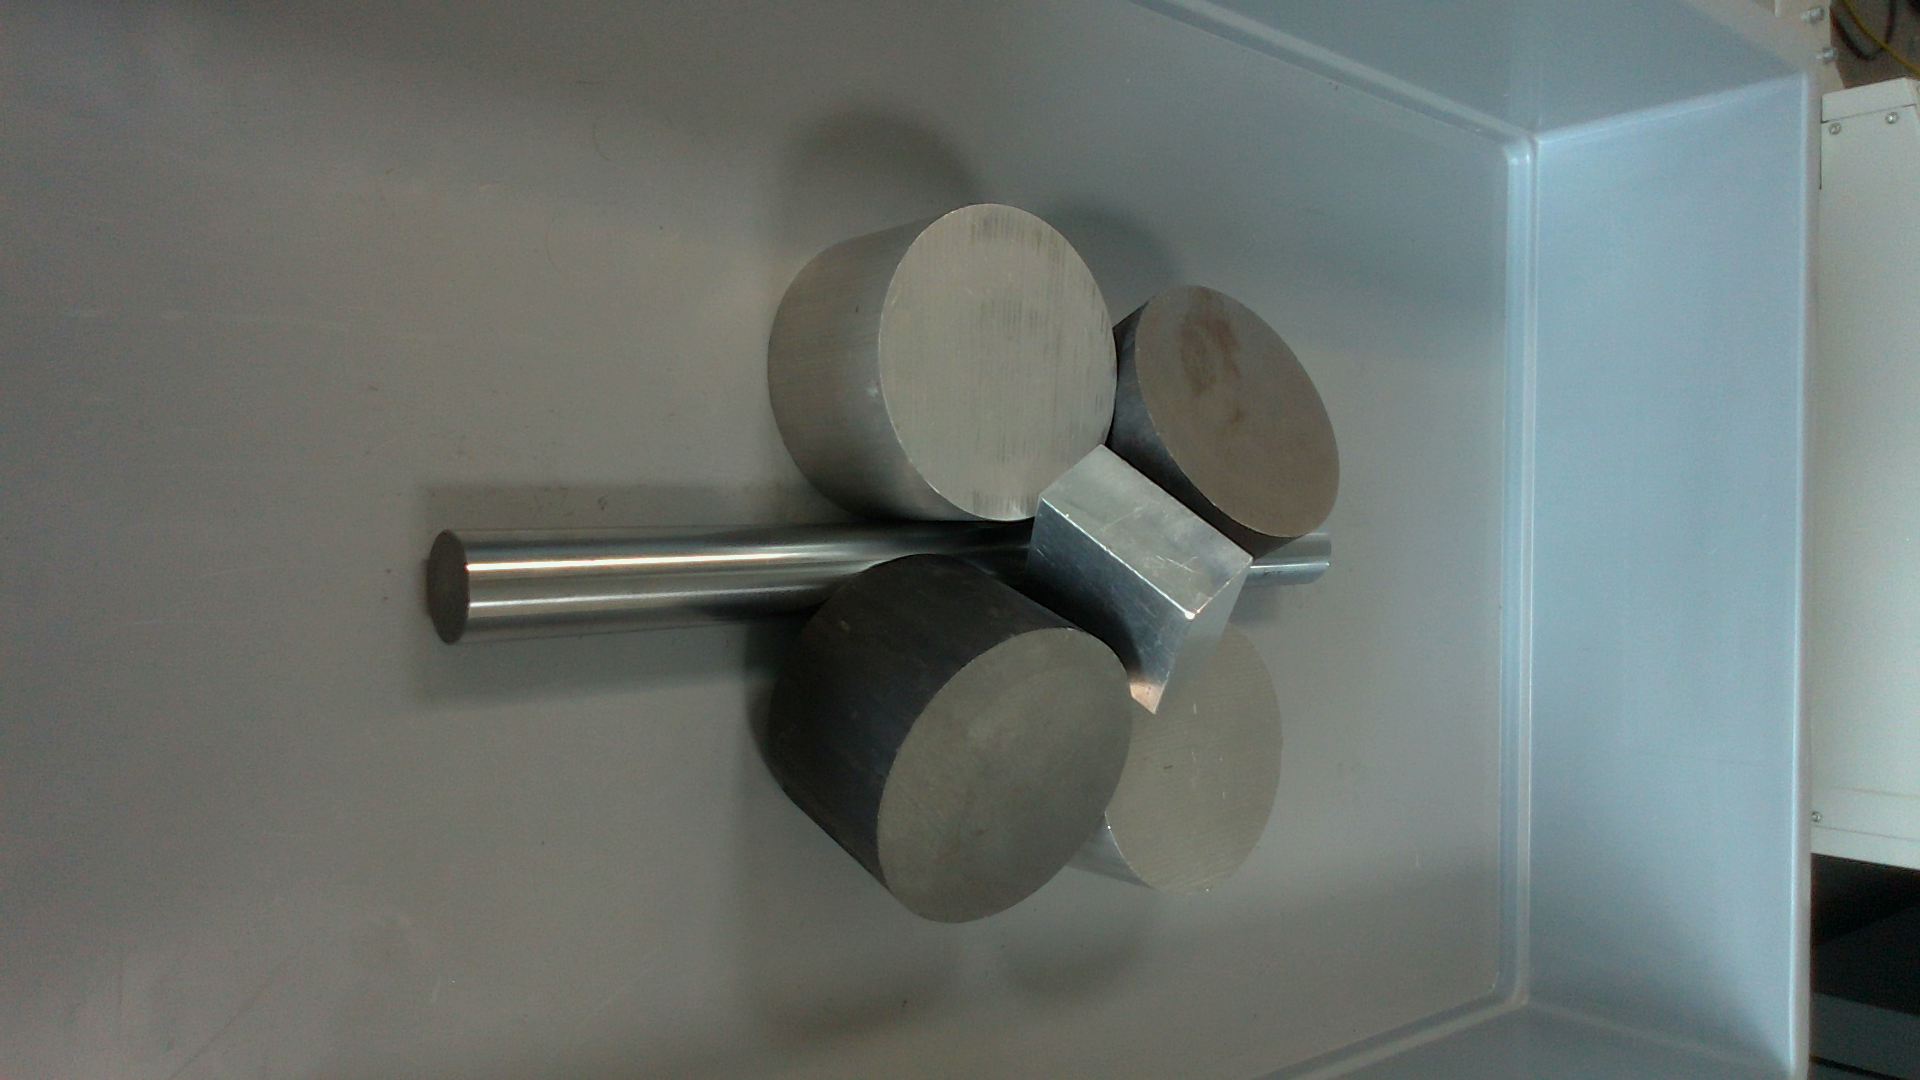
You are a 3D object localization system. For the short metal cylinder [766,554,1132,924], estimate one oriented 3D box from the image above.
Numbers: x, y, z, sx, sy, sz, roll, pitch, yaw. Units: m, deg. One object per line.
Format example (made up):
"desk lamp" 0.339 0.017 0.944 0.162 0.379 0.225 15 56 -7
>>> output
"short metal cylinder" -0.002 0.050 0.353 0.080 0.050 0.080 -19 121 -33

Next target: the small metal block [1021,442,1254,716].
"small metal block" 0.044 0.011 0.362 0.025 0.050 0.050 -40 156 -26

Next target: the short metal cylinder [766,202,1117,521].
"short metal cylinder" -0.004 -0.045 0.367 0.080 0.050 0.080 0 90 -40

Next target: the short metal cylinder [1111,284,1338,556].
"short metal cylinder" 0.065 -0.028 0.408 0.080 0.050 0.080 19 56 -31

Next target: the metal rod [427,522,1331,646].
"metal rod" 0.006 0.007 0.391 0.301 0.025 0.025 -2 91 -40

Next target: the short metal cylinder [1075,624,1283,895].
"short metal cylinder" 0.052 0.061 0.414 0.080 0.050 0.080 0 90 -40
